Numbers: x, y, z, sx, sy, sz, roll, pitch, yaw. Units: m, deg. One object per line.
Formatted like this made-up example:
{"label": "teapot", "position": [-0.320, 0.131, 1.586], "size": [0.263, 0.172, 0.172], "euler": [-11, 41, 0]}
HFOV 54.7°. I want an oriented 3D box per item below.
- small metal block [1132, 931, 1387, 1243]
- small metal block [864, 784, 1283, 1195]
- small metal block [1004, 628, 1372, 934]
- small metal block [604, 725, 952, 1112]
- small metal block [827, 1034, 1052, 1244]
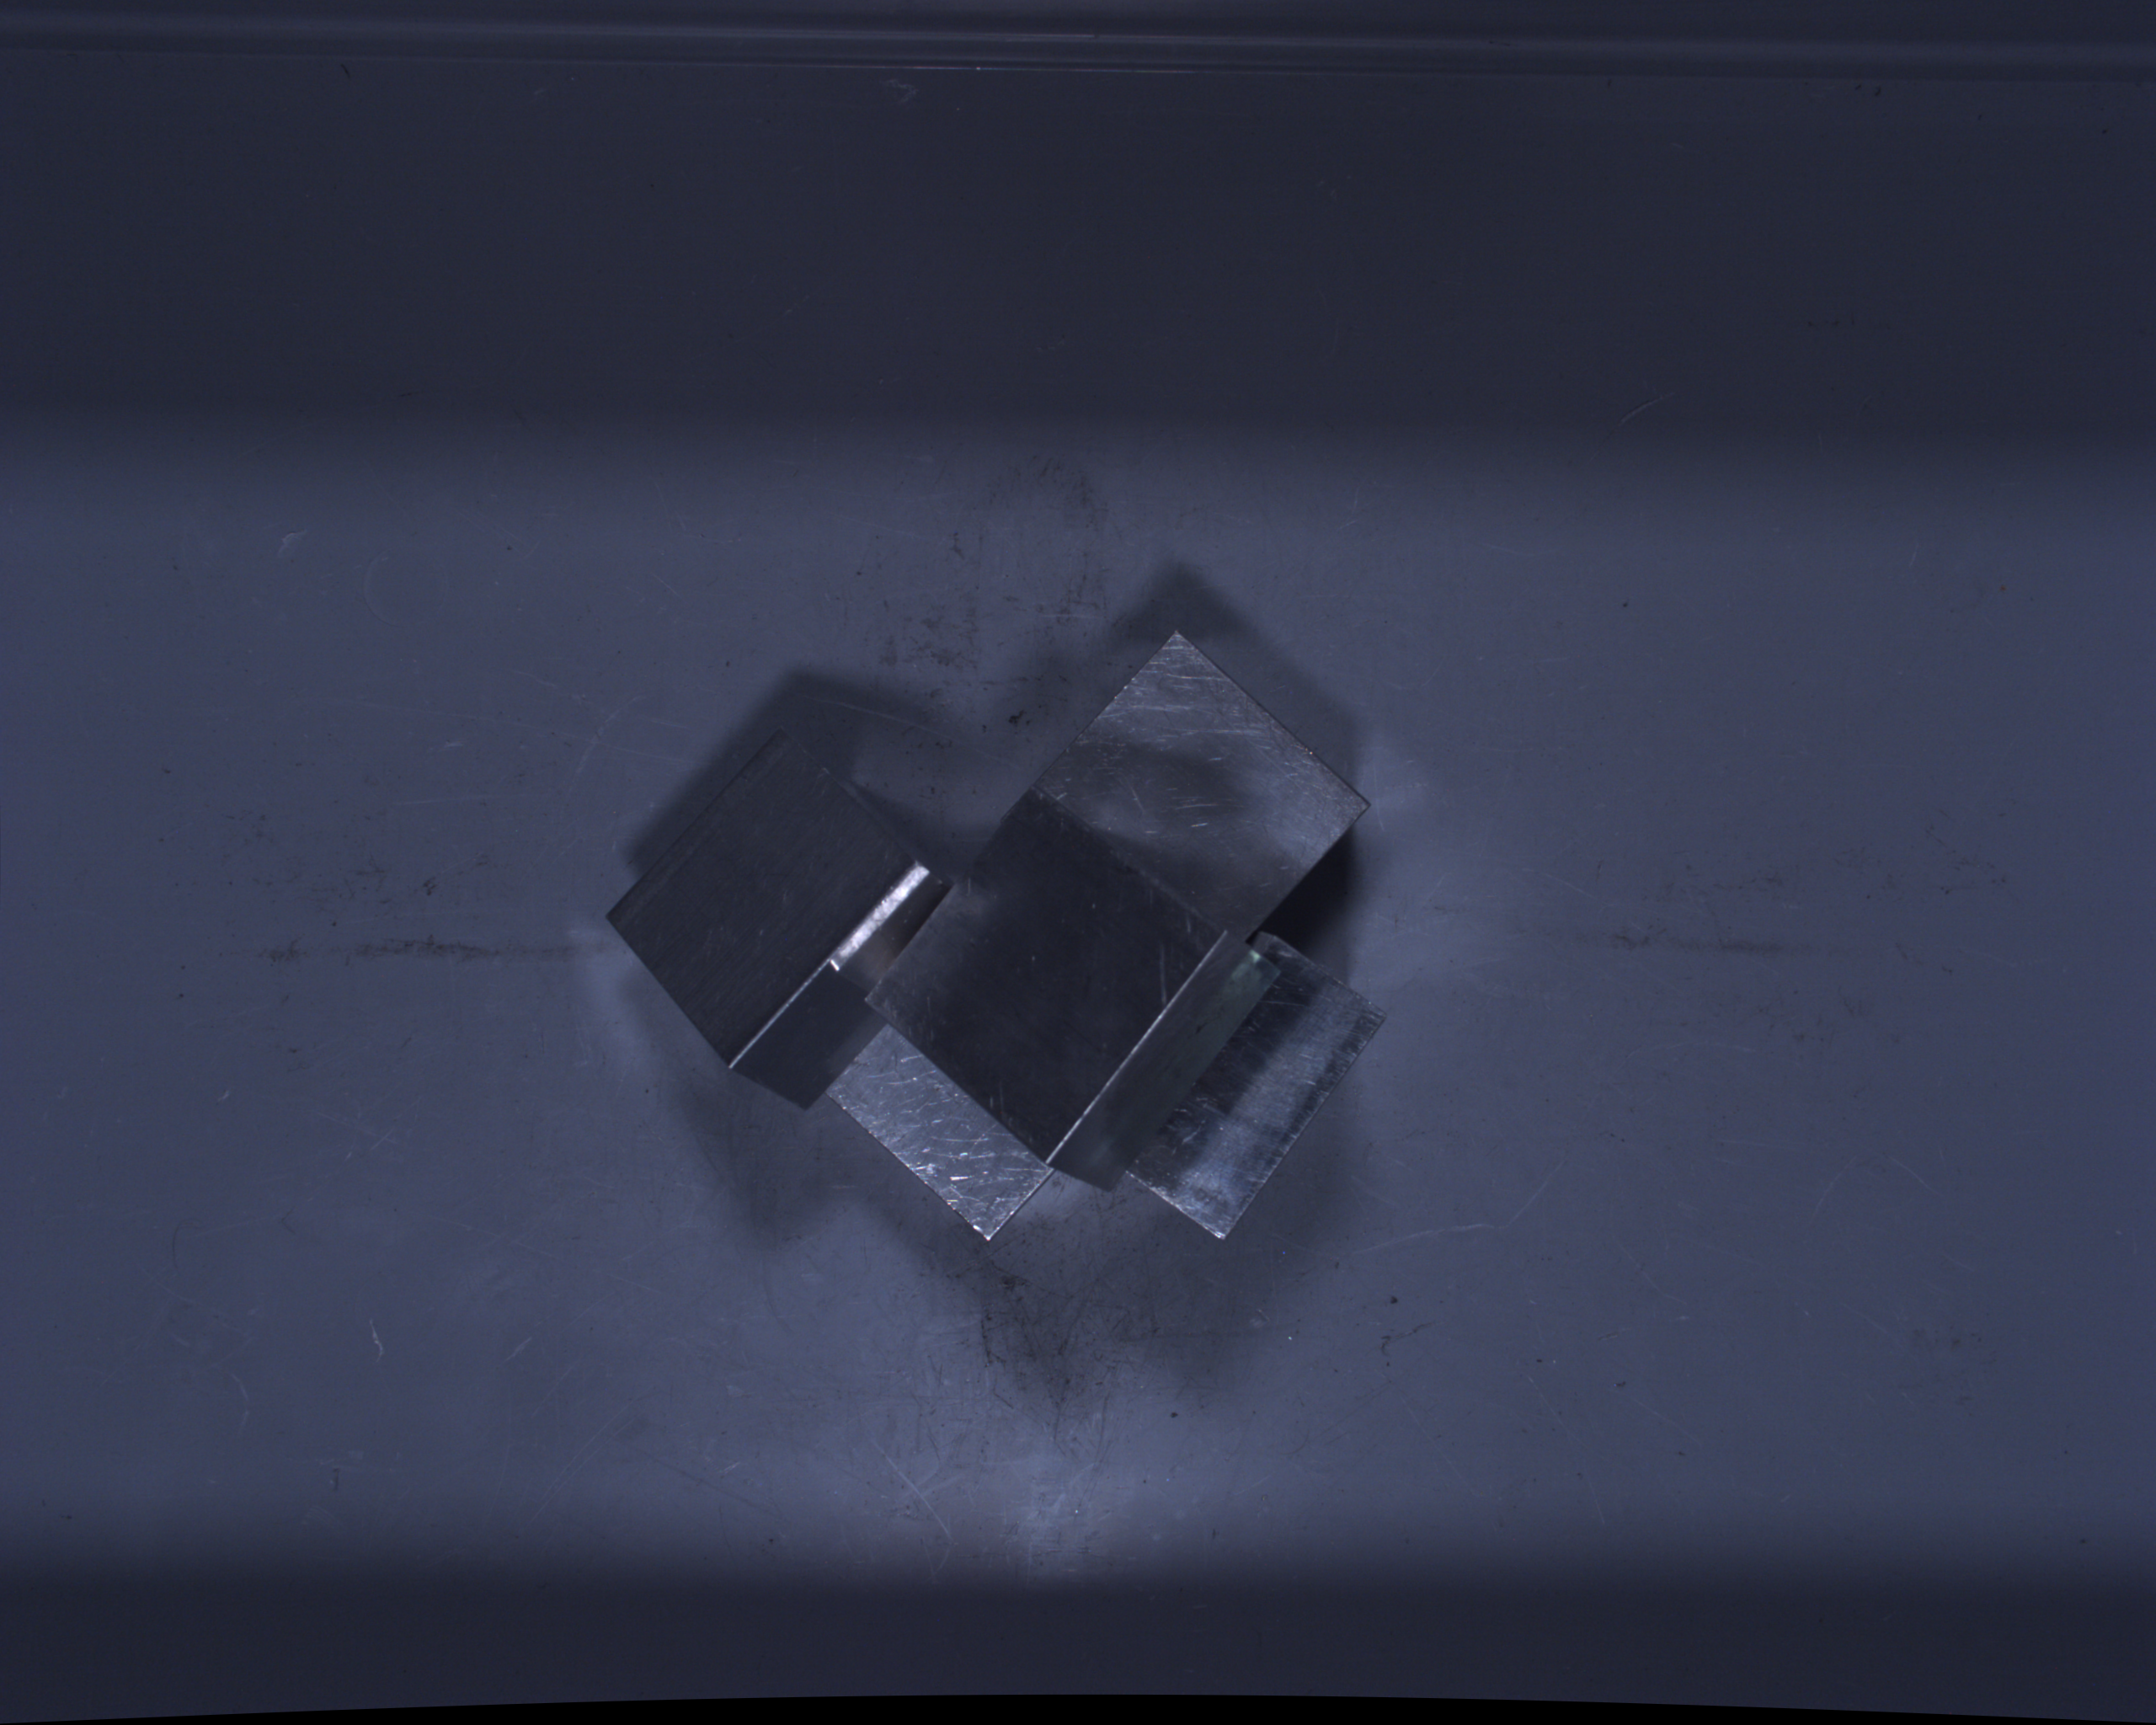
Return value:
{"label": "small metal block", "position": [0.030, 0.040, 0.398], "size": [0.025, 0.050, 0.050], "euler": [35, 90, -1]}
{"label": "small metal block", "position": [-0.001, 0.022, 0.373], "size": [0.050, 0.025, 0.050], "euler": [38, 90, 33]}
{"label": "small metal block", "position": [0.021, -0.010, 0.410], "size": [0.050, 0.025, 0.050], "euler": [42, 90, -1]}
{"label": "small metal block", "position": [-0.054, 0.010, 0.397], "size": [0.050, 0.025, 0.050], "euler": [-48, 52, 0]}
{"label": "small metal block", "position": [-0.018, 0.037, 0.409], "size": [0.050, 0.025, 0.050], "euler": [42, 90, -1]}
